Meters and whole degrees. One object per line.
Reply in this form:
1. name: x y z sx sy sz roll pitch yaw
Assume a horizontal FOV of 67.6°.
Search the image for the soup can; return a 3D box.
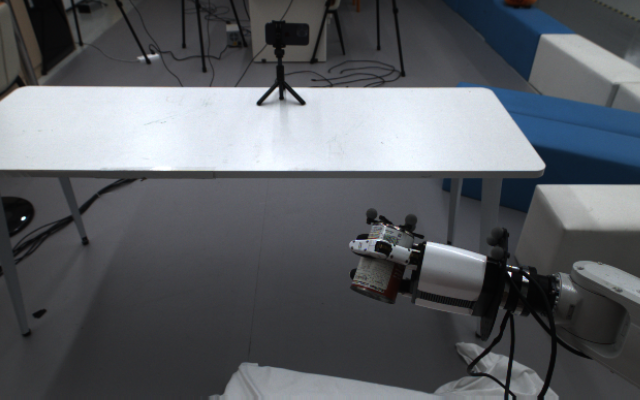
1. soup can: 0.093 0.091 0.705 0.067 0.067 0.101 15 74 18
